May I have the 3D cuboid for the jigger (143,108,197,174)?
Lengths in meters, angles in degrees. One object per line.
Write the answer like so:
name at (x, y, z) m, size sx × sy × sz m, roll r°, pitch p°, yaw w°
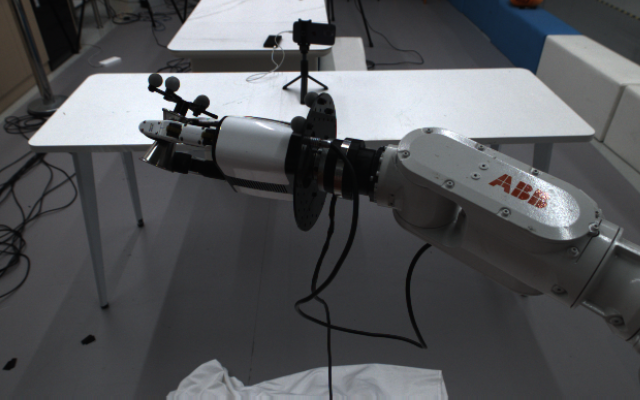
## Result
jigger at (-0.188, -0.073, 0.592) m, size 0.043 × 0.071 × 0.043 m, roll 23°, pitch -2°, yaw 1°
